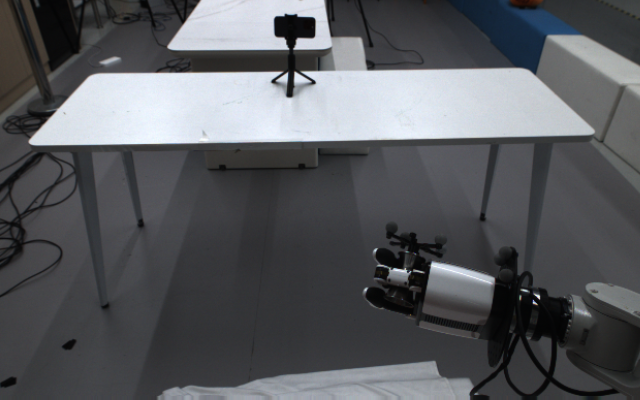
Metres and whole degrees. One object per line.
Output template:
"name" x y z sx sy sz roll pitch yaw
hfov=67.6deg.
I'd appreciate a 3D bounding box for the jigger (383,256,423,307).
"jigger" 0.122 0.109 0.672 0.043 0.043 0.071 13 69 15
